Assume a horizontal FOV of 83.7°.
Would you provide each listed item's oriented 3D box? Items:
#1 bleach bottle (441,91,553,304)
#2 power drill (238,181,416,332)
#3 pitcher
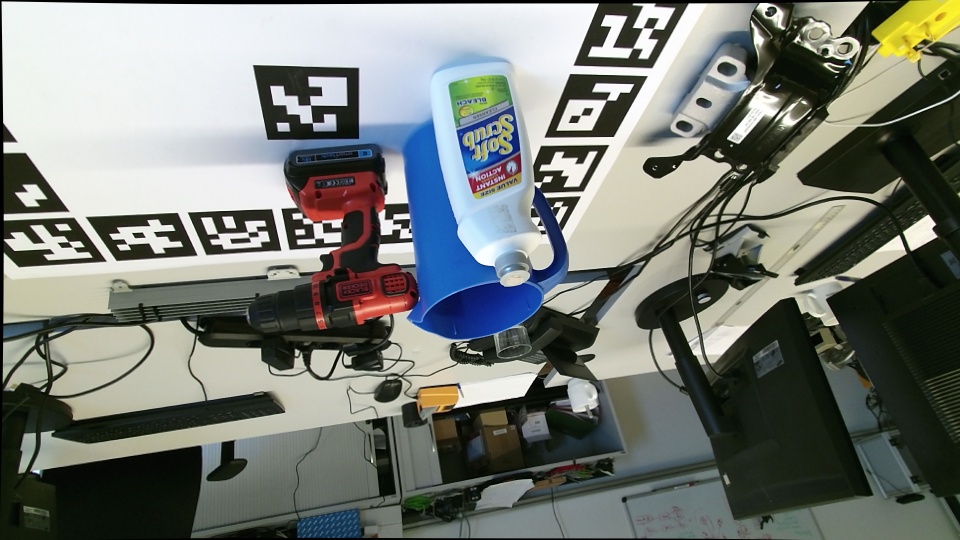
[{"bbox_3d":[0.030,-0.073,0.547,0.103,0.249,0.068,-10,149,-9],"label":"bleach bottle"},{"bbox_3d":[-0.170,-0.016,0.613,0.185,0.186,0.057,-4,145,-8],"label":"power drill"},{"bbox_3d":[-0.003,-0.033,0.637,0.189,0.241,0.133,-20,147,7],"label":"pitcher"}]
